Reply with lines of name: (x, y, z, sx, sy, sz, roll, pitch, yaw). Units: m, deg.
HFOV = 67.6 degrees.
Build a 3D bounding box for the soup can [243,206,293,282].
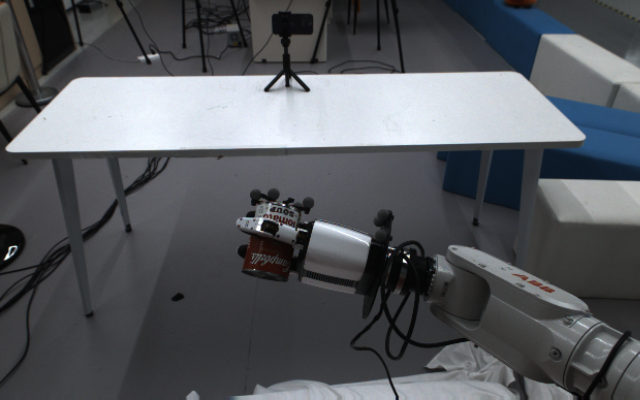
soup can: (-0.068, 0.060, 0.690, 0.067, 0.067, 0.101, 8, 72, 9)
